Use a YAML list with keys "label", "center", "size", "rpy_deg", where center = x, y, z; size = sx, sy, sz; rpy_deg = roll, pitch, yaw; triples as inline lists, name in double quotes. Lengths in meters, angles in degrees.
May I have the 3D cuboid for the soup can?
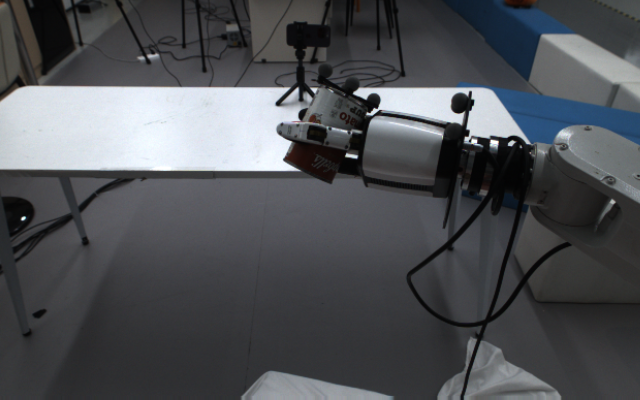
- label: "soup can"
  center: [0.008, -0.079, 0.588]
  size: [0.067, 0.101, 0.067]
  rpy_deg: [26, 5, -3]
